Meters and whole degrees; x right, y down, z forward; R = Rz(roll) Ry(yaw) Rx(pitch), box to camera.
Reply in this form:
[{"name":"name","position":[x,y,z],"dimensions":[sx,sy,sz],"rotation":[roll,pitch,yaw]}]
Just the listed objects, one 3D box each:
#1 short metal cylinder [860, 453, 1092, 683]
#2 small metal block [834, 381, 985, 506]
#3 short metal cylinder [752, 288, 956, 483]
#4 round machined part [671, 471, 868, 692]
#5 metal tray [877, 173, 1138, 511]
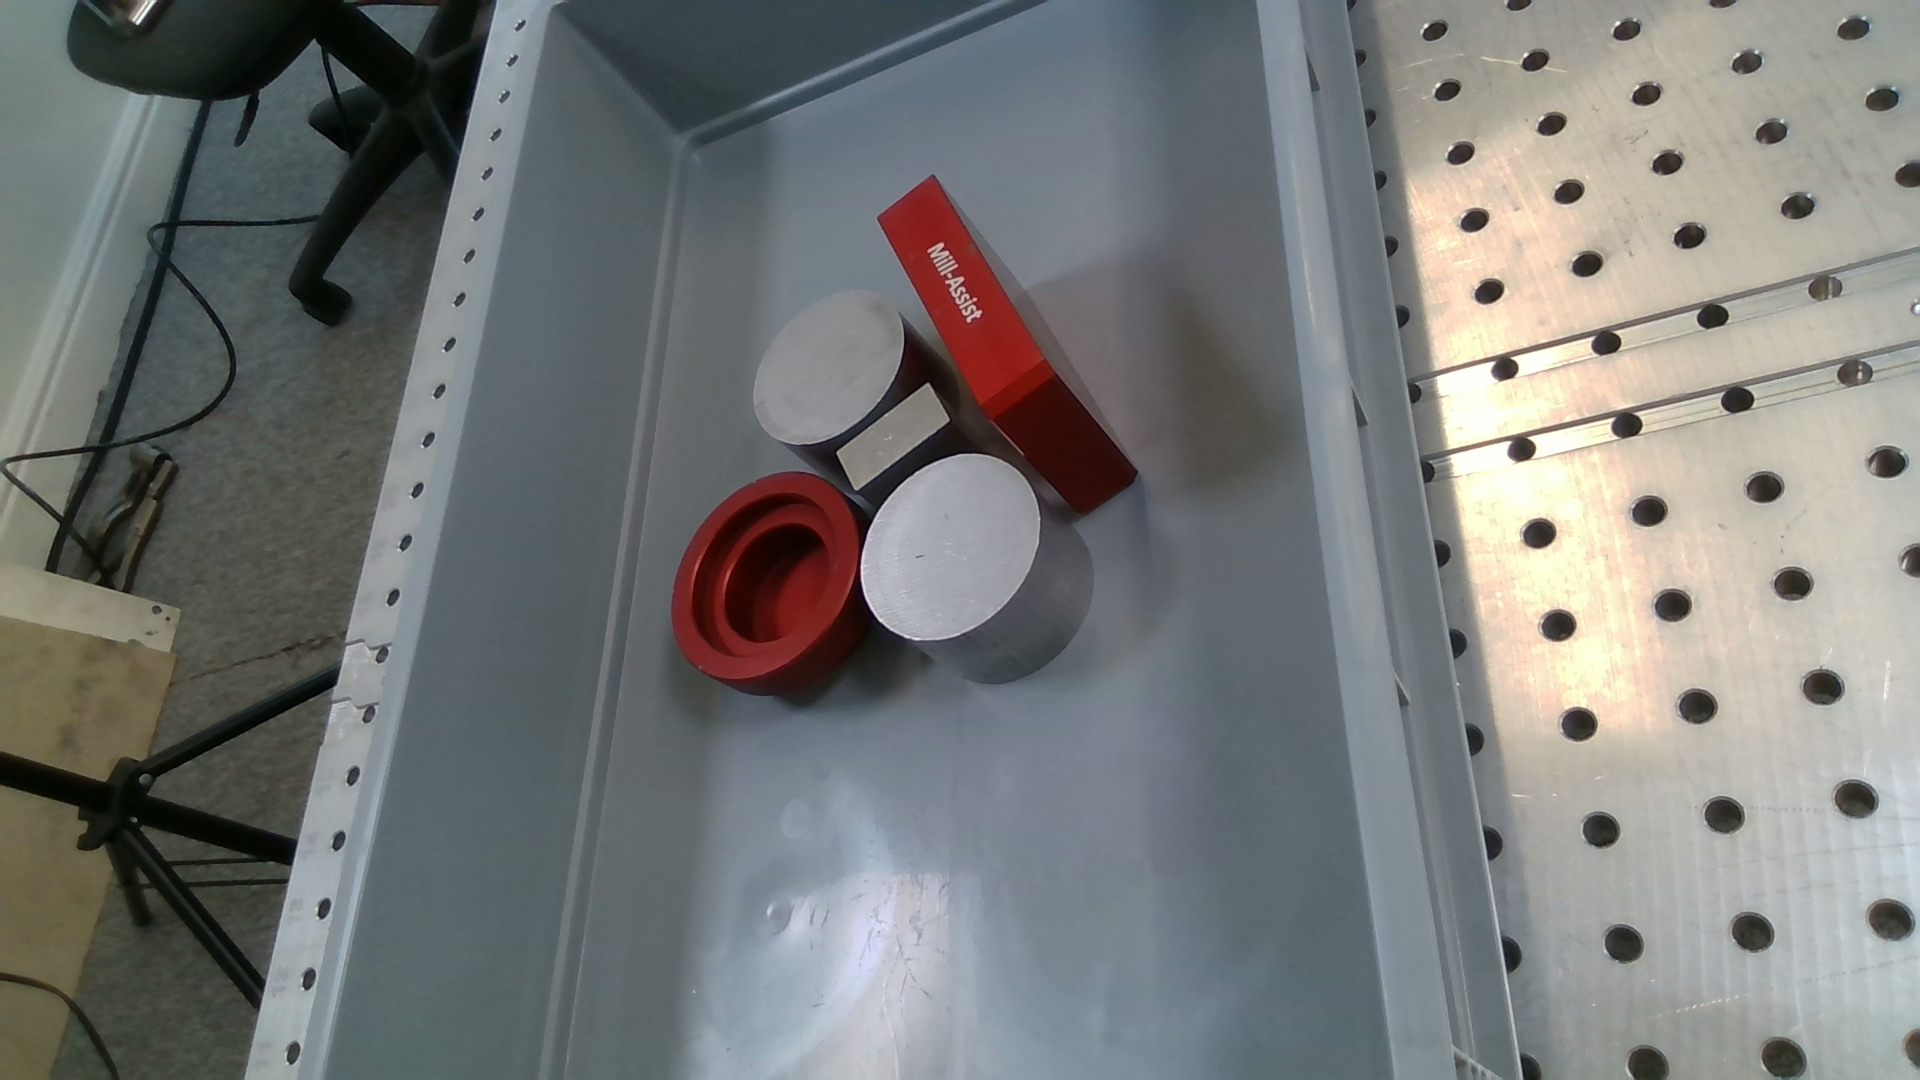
[{"name":"short metal cylinder","position":[0.007,0.012,0.558],"dimensions":[0.080,0.050,0.080],"rotation":[-14,59,25]},{"name":"small metal block","position":[-0.017,-0.033,0.596],"dimensions":[0.050,0.050,0.025],"rotation":[-36,52,10]},{"name":"short metal cylinder","position":[-0.048,-0.068,0.633],"dimensions":[0.080,0.050,0.080],"rotation":[-14,59,25]},{"name":"round machined part","position":[-0.076,0.022,0.608],"dimensions":[0.098,0.042,0.098],"rotation":[-14,59,25]},{"name":"metal tray","position":[0.019,-0.083,0.573],"dimensions":[0.030,0.090,0.130],"rotation":[-35,52,11]}]
